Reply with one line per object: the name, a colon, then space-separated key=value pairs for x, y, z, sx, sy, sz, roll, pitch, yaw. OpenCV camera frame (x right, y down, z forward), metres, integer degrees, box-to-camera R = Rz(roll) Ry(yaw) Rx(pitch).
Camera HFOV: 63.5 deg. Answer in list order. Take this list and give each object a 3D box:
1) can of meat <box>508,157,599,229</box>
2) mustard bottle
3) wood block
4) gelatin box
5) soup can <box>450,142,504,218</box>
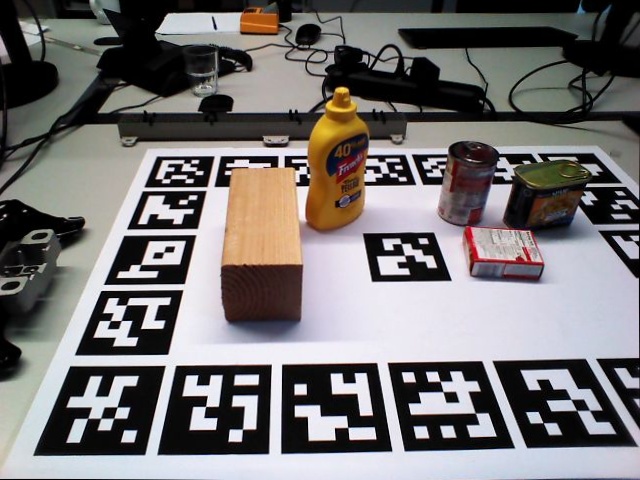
can of meat: x=0.323 y=-0.063 z=0.728 sx=0.102 sy=0.084 sz=0.057 roll=-8 pitch=40 yaw=-15
mustard bottle: x=0.031 y=-0.106 z=0.699 sx=0.096 sy=0.192 sz=0.058 roll=-17 pitch=41 yaw=-23
wood block: x=-0.063 y=-0.003 z=0.643 sx=0.091 sy=0.090 sz=0.205 roll=1 pitch=35 yaw=-3
gelatin box: x=0.251 y=0.014 z=0.666 sx=0.090 sy=0.030 sz=0.073 roll=3 pitch=41 yaw=8
soup can: x=0.225 y=-0.090 z=0.730 sx=0.068 sy=0.102 sz=0.067 roll=0 pitch=40 yaw=0
